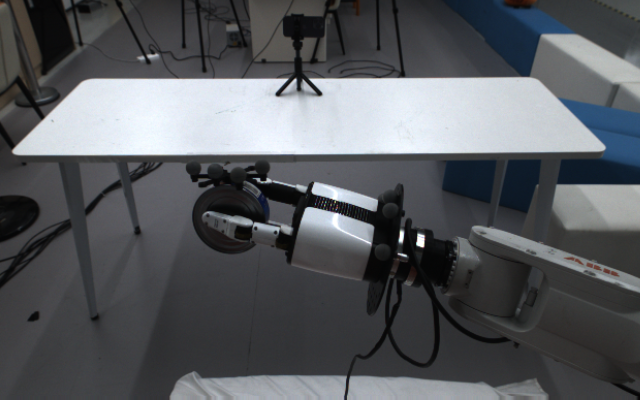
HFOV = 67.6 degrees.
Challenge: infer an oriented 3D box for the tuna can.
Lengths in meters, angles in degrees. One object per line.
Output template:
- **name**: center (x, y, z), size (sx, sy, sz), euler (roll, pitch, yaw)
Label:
- **tuna can**: center (-0.100, 0.023, 0.566), size (0.085, 0.085, 0.034), euler (4, 18, 3)
